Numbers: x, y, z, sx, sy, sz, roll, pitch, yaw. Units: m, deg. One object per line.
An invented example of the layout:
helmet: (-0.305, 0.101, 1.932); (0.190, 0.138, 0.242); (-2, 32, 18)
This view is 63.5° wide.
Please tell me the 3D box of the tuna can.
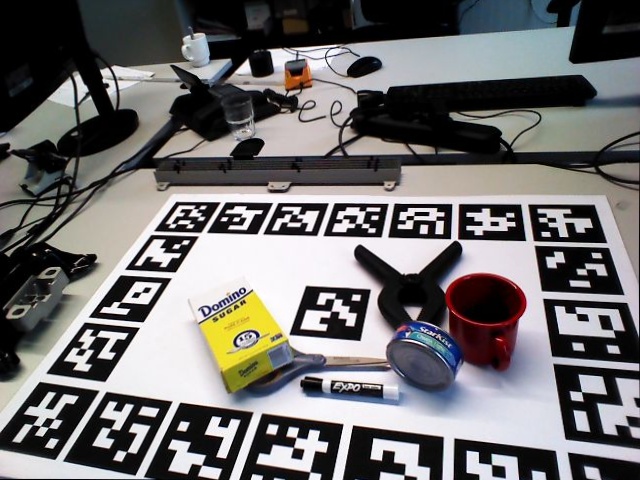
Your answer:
tuna can: (0.126, 0.132, 0.608); (0.086, 0.086, 0.033); (13, 44, 29)

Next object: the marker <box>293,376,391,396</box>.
marker: (0.025, 0.177, 0.632); (0.121, 0.020, 0.019); (-2, 40, 14)

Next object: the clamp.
clamp: (0.134, 0.067, 0.744); (0.166, 0.037, 0.201); (-5, 39, 8)

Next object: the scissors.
scissors: (-0.010, 0.148, 0.674); (0.203, 0.016, 0.087); (-5, 35, 7)

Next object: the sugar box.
sugar box: (-0.111, 0.120, 0.711); (0.093, 0.045, 0.176); (-22, 33, -13)

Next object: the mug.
mug: (0.196, 0.104, 0.634); (0.093, 0.081, 0.117); (-16, 35, -6)
